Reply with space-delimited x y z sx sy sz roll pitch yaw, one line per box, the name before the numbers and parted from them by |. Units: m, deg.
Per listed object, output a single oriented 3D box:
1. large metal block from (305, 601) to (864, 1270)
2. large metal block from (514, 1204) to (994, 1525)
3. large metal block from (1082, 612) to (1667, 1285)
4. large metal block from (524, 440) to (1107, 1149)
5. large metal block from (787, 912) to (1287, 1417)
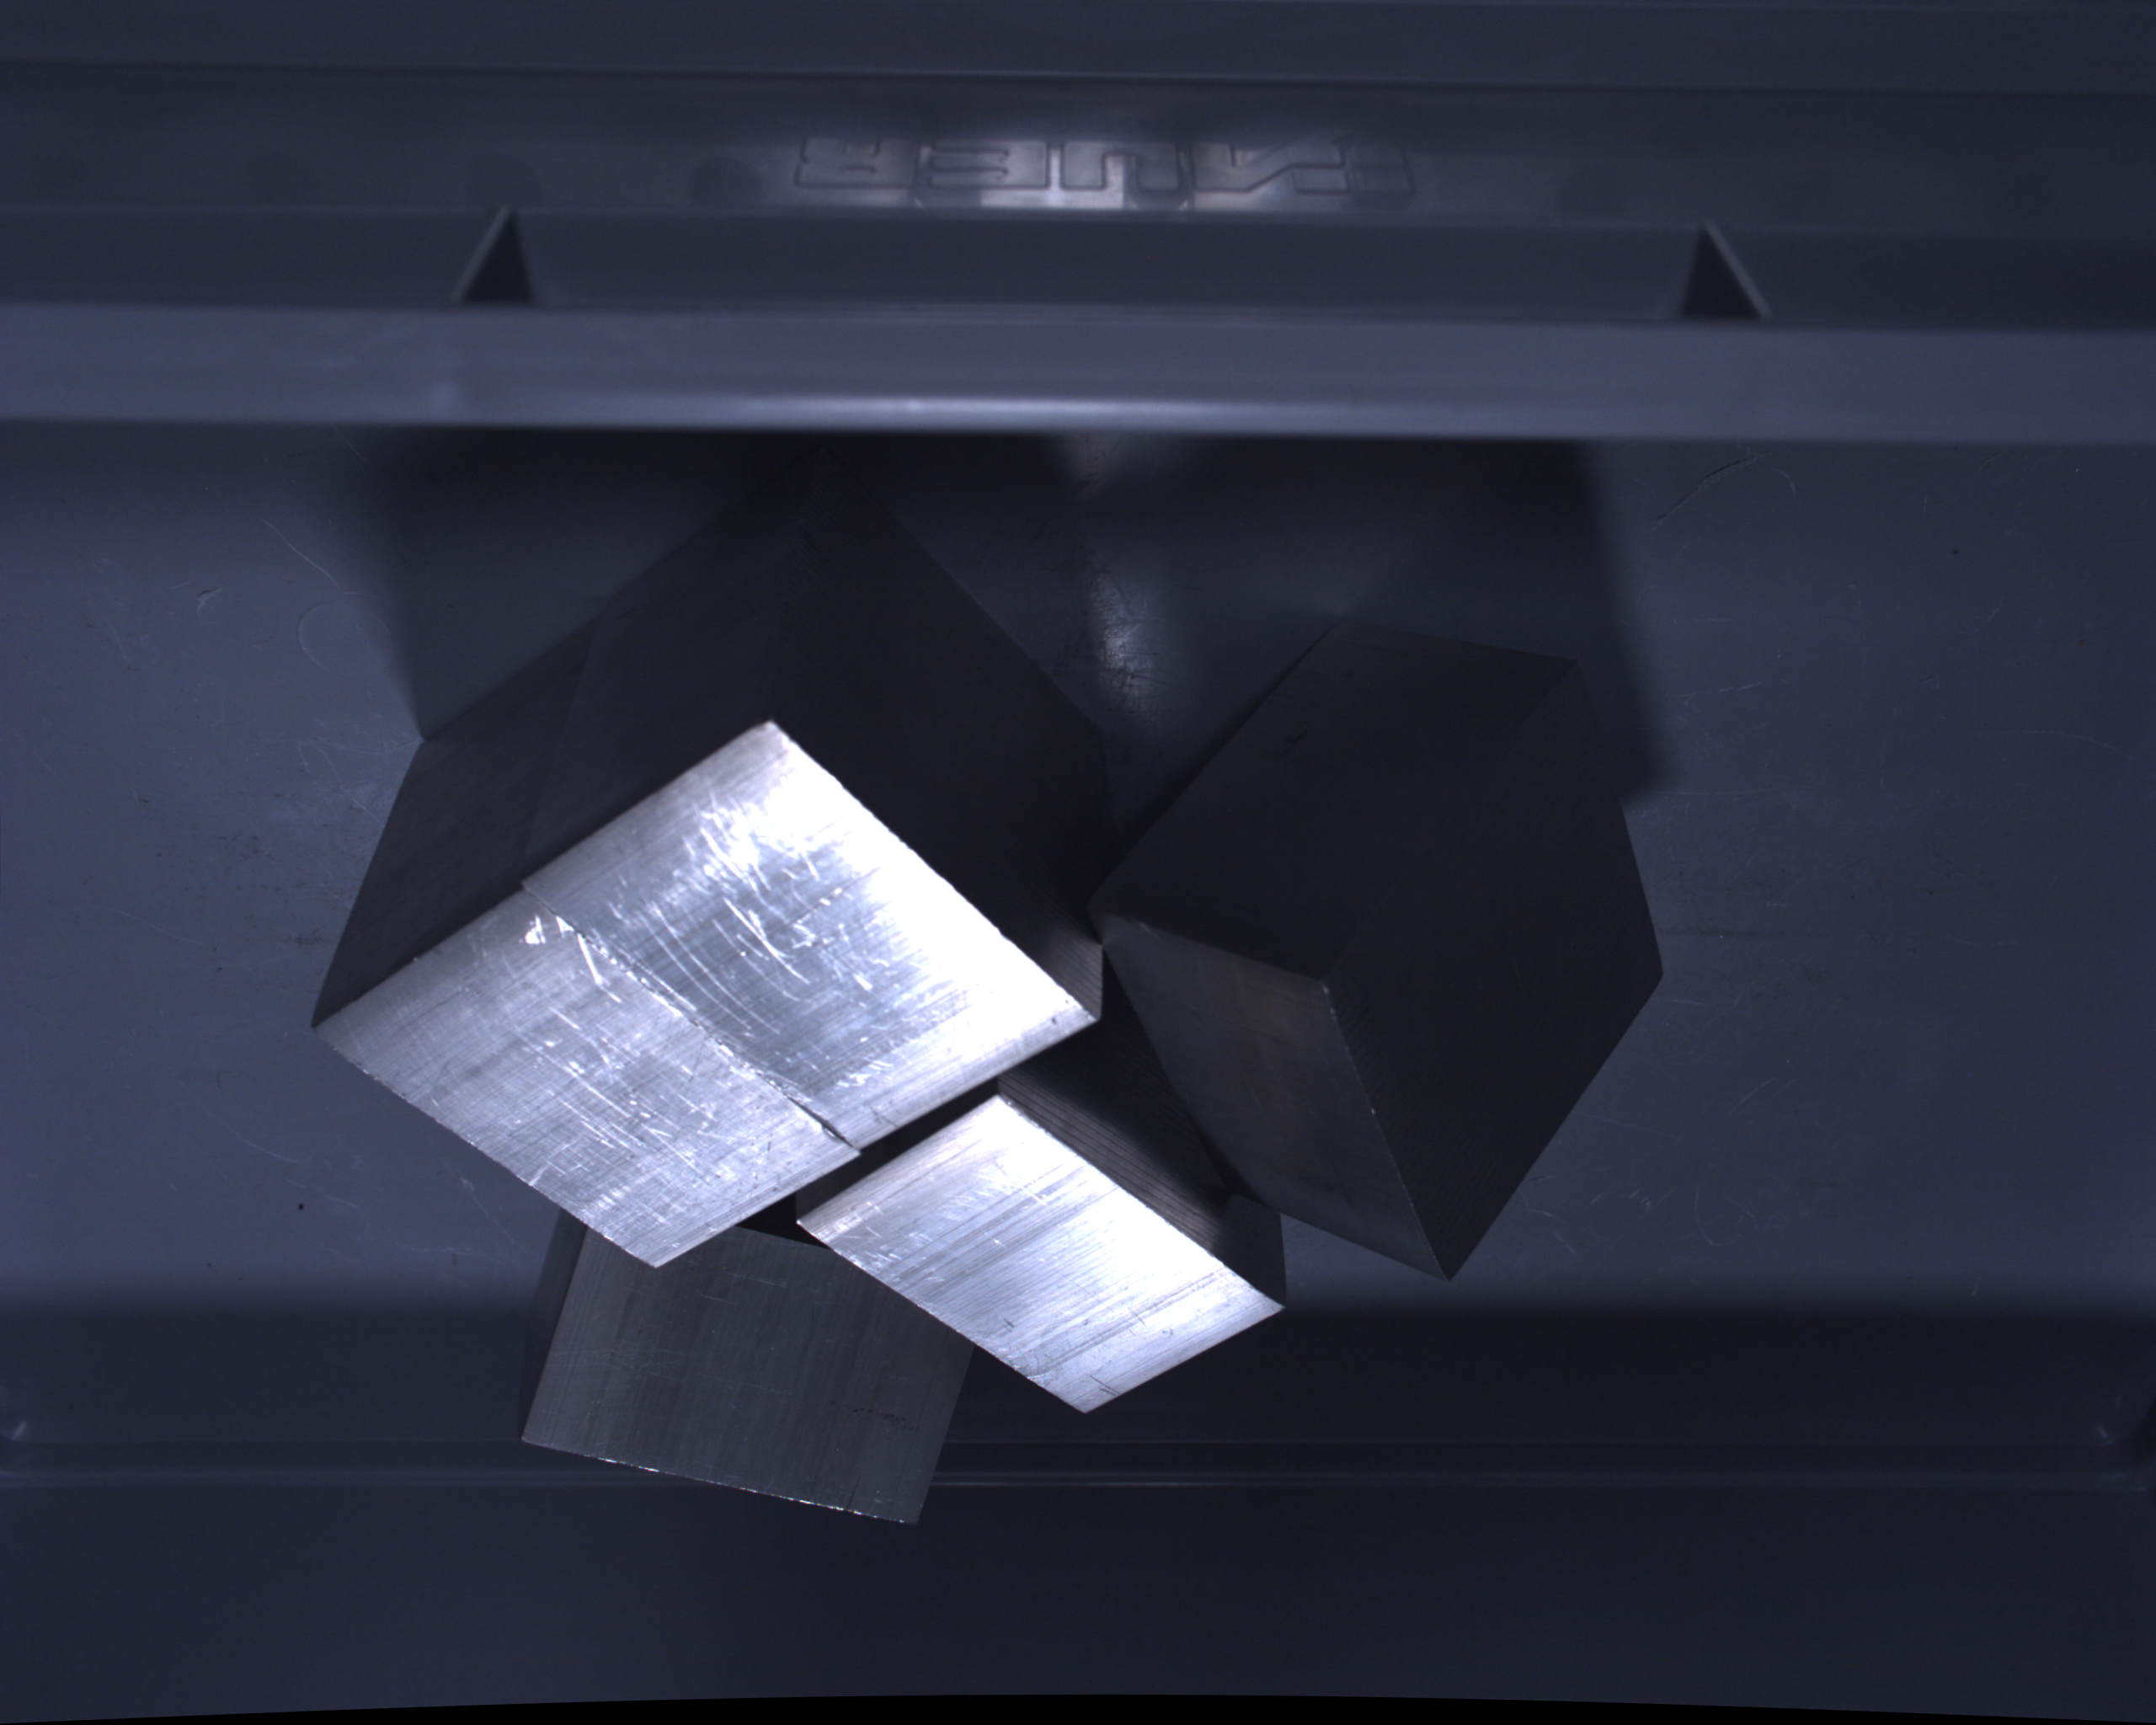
large metal block | -0.082 0.013 0.382 0.050 0.080 0.080 -30 124 23
large metal block | -0.070 0.091 0.439 0.081 0.080 0.050 17 93 -15
large metal block | 0.057 0.014 0.375 0.050 0.080 0.080 16 144 41
large metal block | -0.040 -0.012 0.360 0.050 0.080 0.080 -31 124 23
large metal block | -0.007 0.048 0.411 0.050 0.080 0.080 -34 123 25
